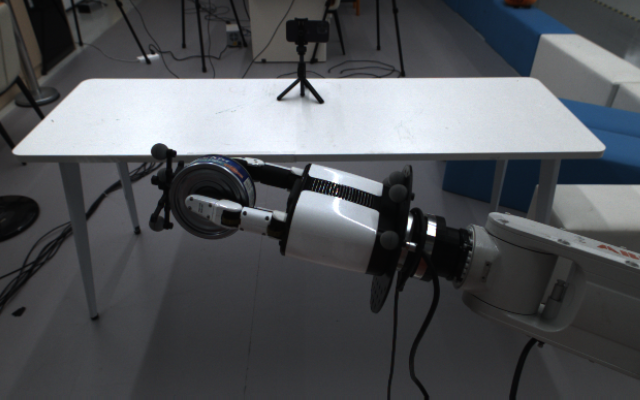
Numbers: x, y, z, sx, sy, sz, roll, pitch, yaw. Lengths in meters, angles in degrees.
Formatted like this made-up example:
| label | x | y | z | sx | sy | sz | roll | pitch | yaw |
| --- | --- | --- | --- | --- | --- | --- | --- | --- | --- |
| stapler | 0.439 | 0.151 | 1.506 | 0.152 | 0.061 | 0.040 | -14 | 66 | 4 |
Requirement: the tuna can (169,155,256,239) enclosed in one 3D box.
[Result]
| label | x | y | z | sx | sy | sz | roll | pitch | yaw |
| --- | --- | --- | --- | --- | --- | --- | --- | --- | --- |
| tuna can | -0.110 | -0.004 | 0.509 | 0.085 | 0.085 | 0.034 | 4 | 18 | 3 |
